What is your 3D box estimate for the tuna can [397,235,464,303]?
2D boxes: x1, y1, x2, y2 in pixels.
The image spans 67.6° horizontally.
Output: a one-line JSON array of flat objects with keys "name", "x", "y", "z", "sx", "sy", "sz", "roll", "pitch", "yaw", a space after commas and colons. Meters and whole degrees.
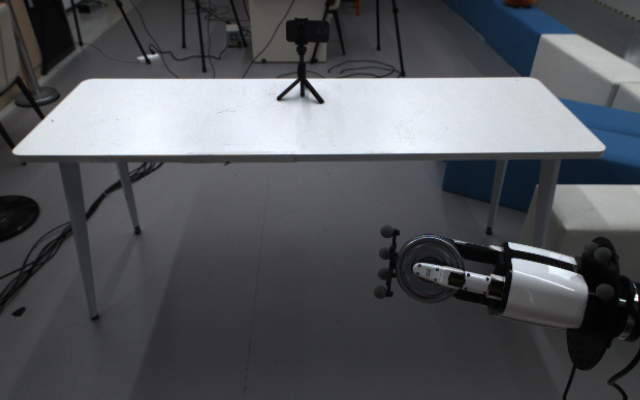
[{"name": "tuna can", "x": 0.143, "y": 0.085, "z": 0.617, "sx": 0.085, "sy": 0.085, "sz": 0.034, "roll": 10, "pitch": 2, "yaw": 11}]
